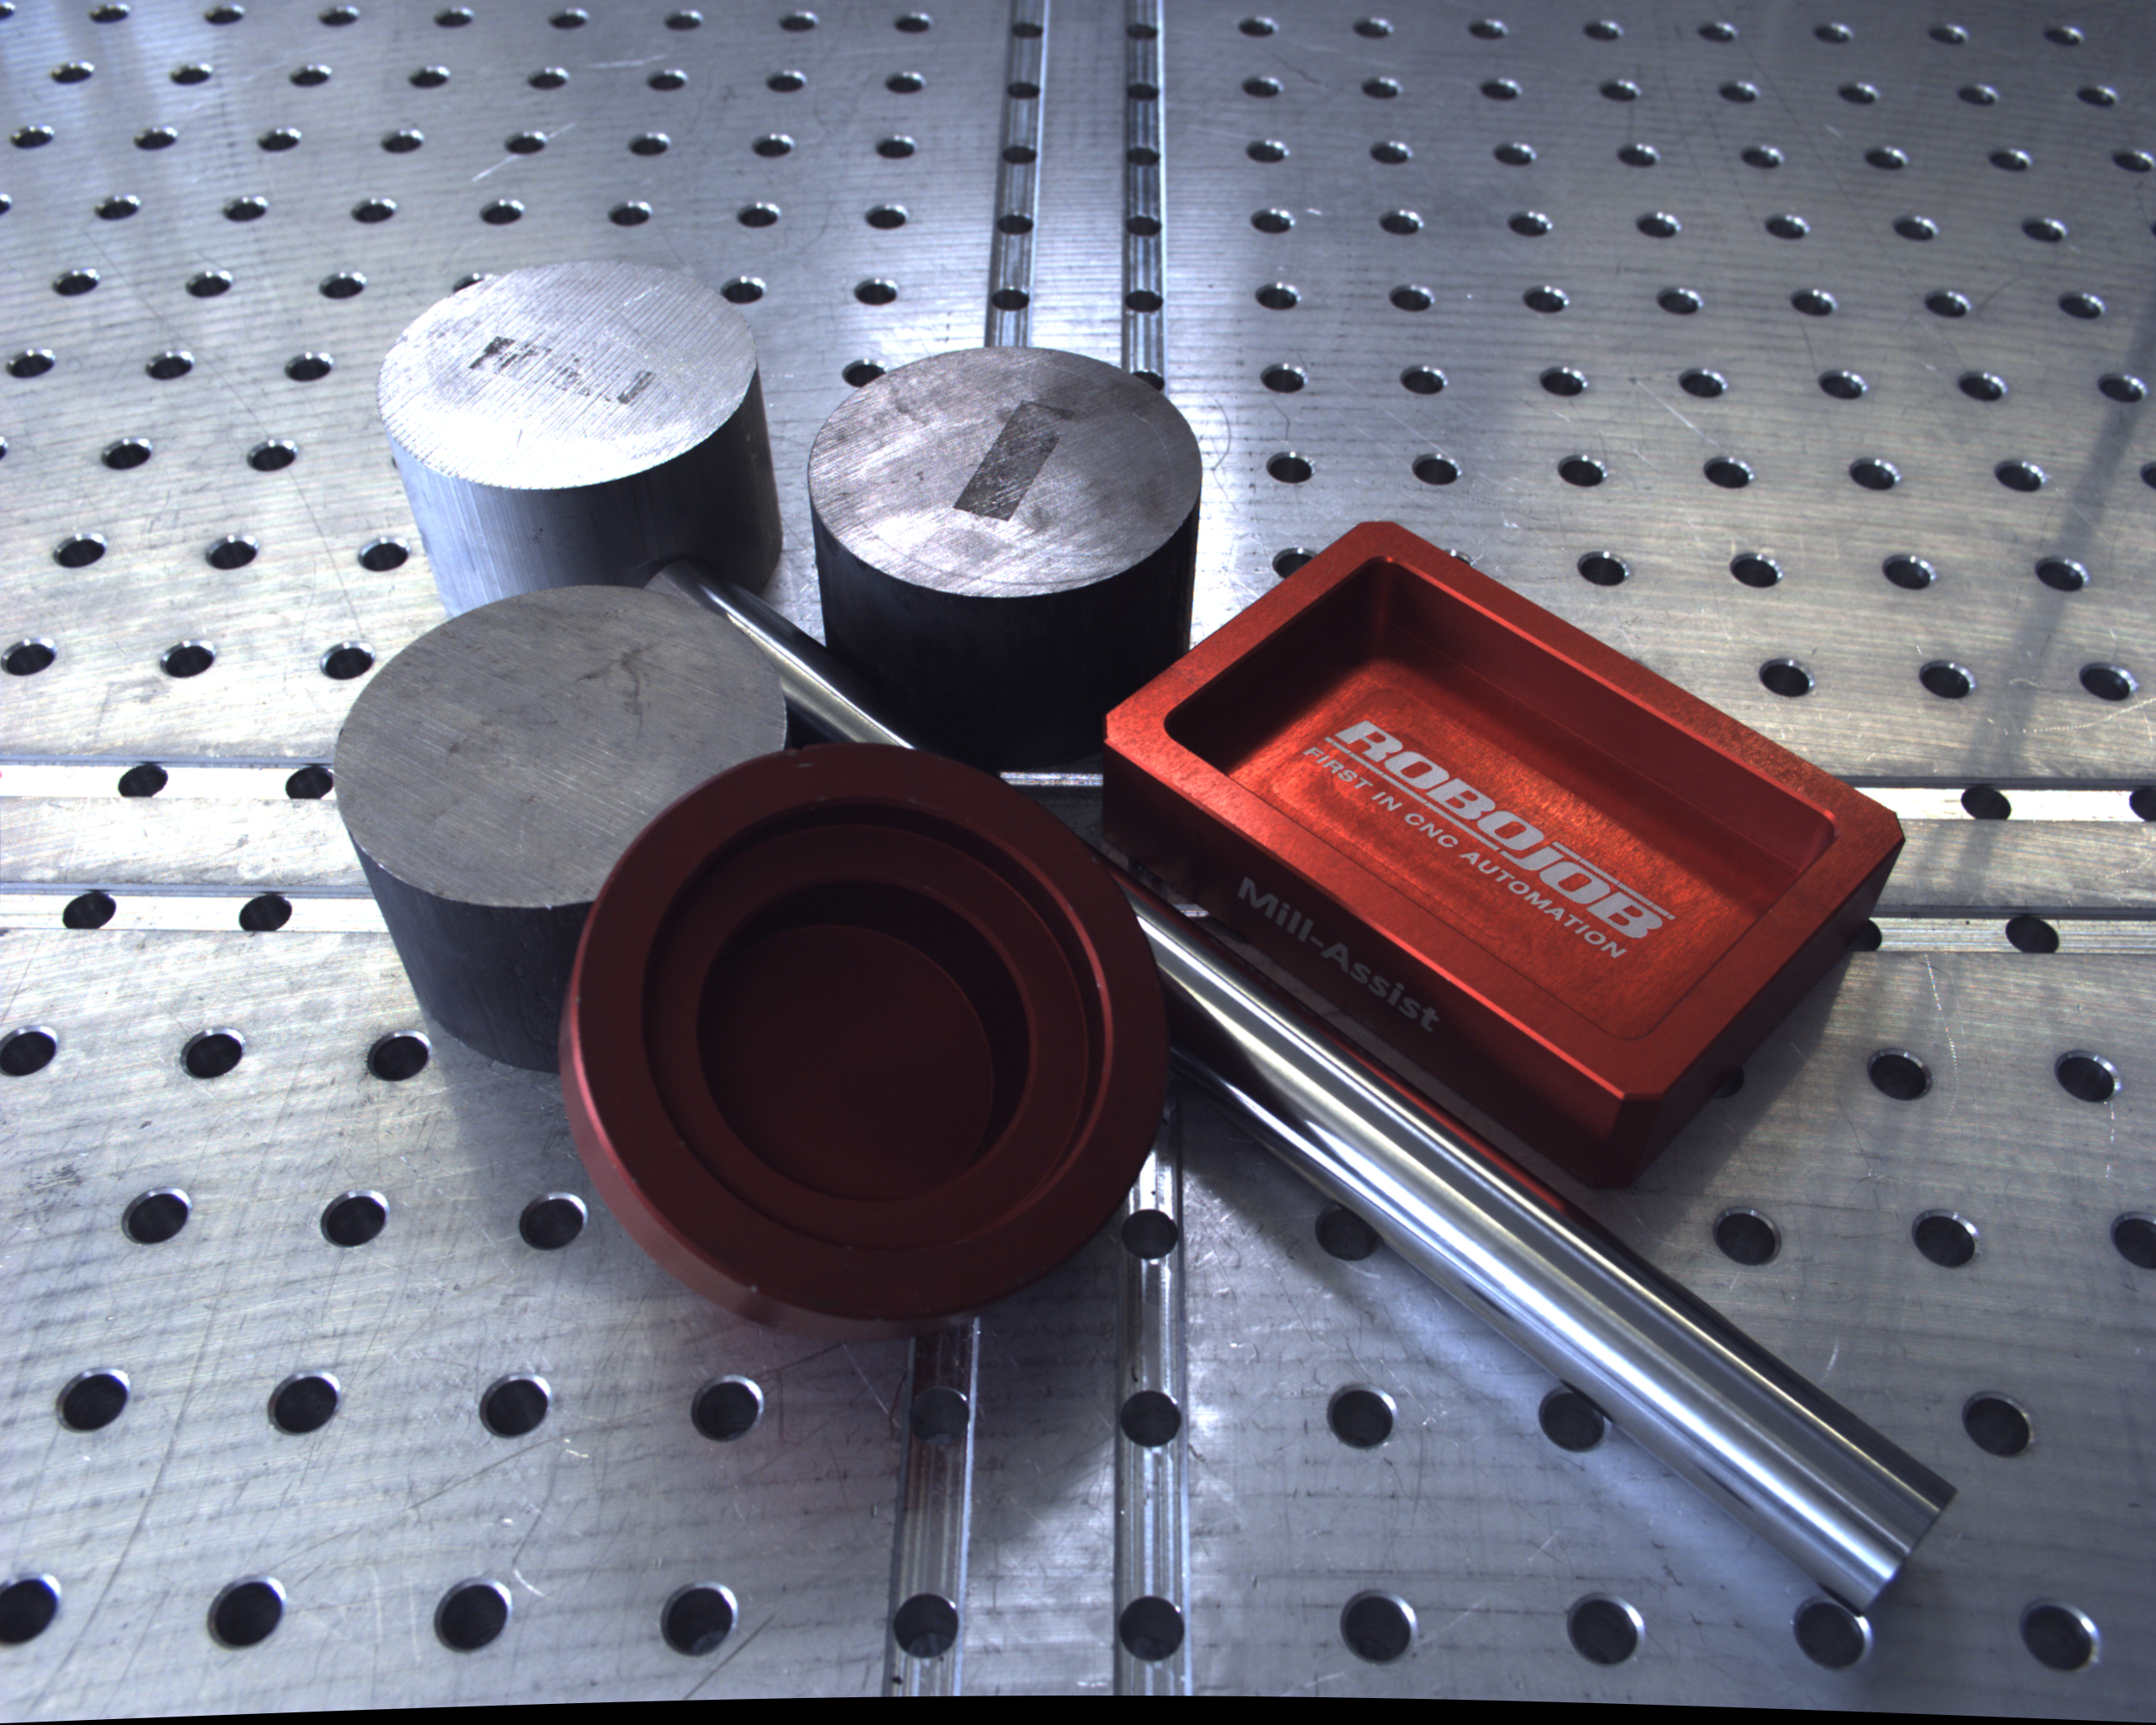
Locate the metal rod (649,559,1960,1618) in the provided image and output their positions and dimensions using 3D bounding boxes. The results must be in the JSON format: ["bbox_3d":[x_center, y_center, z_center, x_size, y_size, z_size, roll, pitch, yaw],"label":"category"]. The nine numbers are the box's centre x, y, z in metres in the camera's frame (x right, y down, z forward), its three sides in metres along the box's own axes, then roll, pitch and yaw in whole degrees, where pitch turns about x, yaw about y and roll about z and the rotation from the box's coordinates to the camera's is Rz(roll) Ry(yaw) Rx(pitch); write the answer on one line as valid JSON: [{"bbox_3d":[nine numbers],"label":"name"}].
[{"bbox_3d":[0.020,0.025,0.387,0.300,0.025,0.025,37,59,27],"label":"metal rod"}]

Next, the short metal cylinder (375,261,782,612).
[{"bbox_3d":[-0.109,-0.090,0.466,0.080,0.050,0.080,0,50,0],"label":"short metal cylinder"}]

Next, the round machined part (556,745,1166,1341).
[{"bbox_3d":[-0.038,0.032,0.355,0.099,0.042,0.098,8,64,-16],"label":"round machined part"}]

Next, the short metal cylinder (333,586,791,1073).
[{"bbox_3d":[-0.093,-0.007,0.396,0.080,0.050,0.080,0,50,0],"label":"short metal cylinder"}]

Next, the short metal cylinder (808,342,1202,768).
[{"bbox_3d":[-0.015,-0.066,0.446,0.080,0.050,0.080,0,50,0],"label":"short metal cylinder"}]

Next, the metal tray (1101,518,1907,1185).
[{"bbox_3d":[0.080,-0.008,0.410,0.130,0.030,0.090,36,59,26],"label":"metal tray"}]
